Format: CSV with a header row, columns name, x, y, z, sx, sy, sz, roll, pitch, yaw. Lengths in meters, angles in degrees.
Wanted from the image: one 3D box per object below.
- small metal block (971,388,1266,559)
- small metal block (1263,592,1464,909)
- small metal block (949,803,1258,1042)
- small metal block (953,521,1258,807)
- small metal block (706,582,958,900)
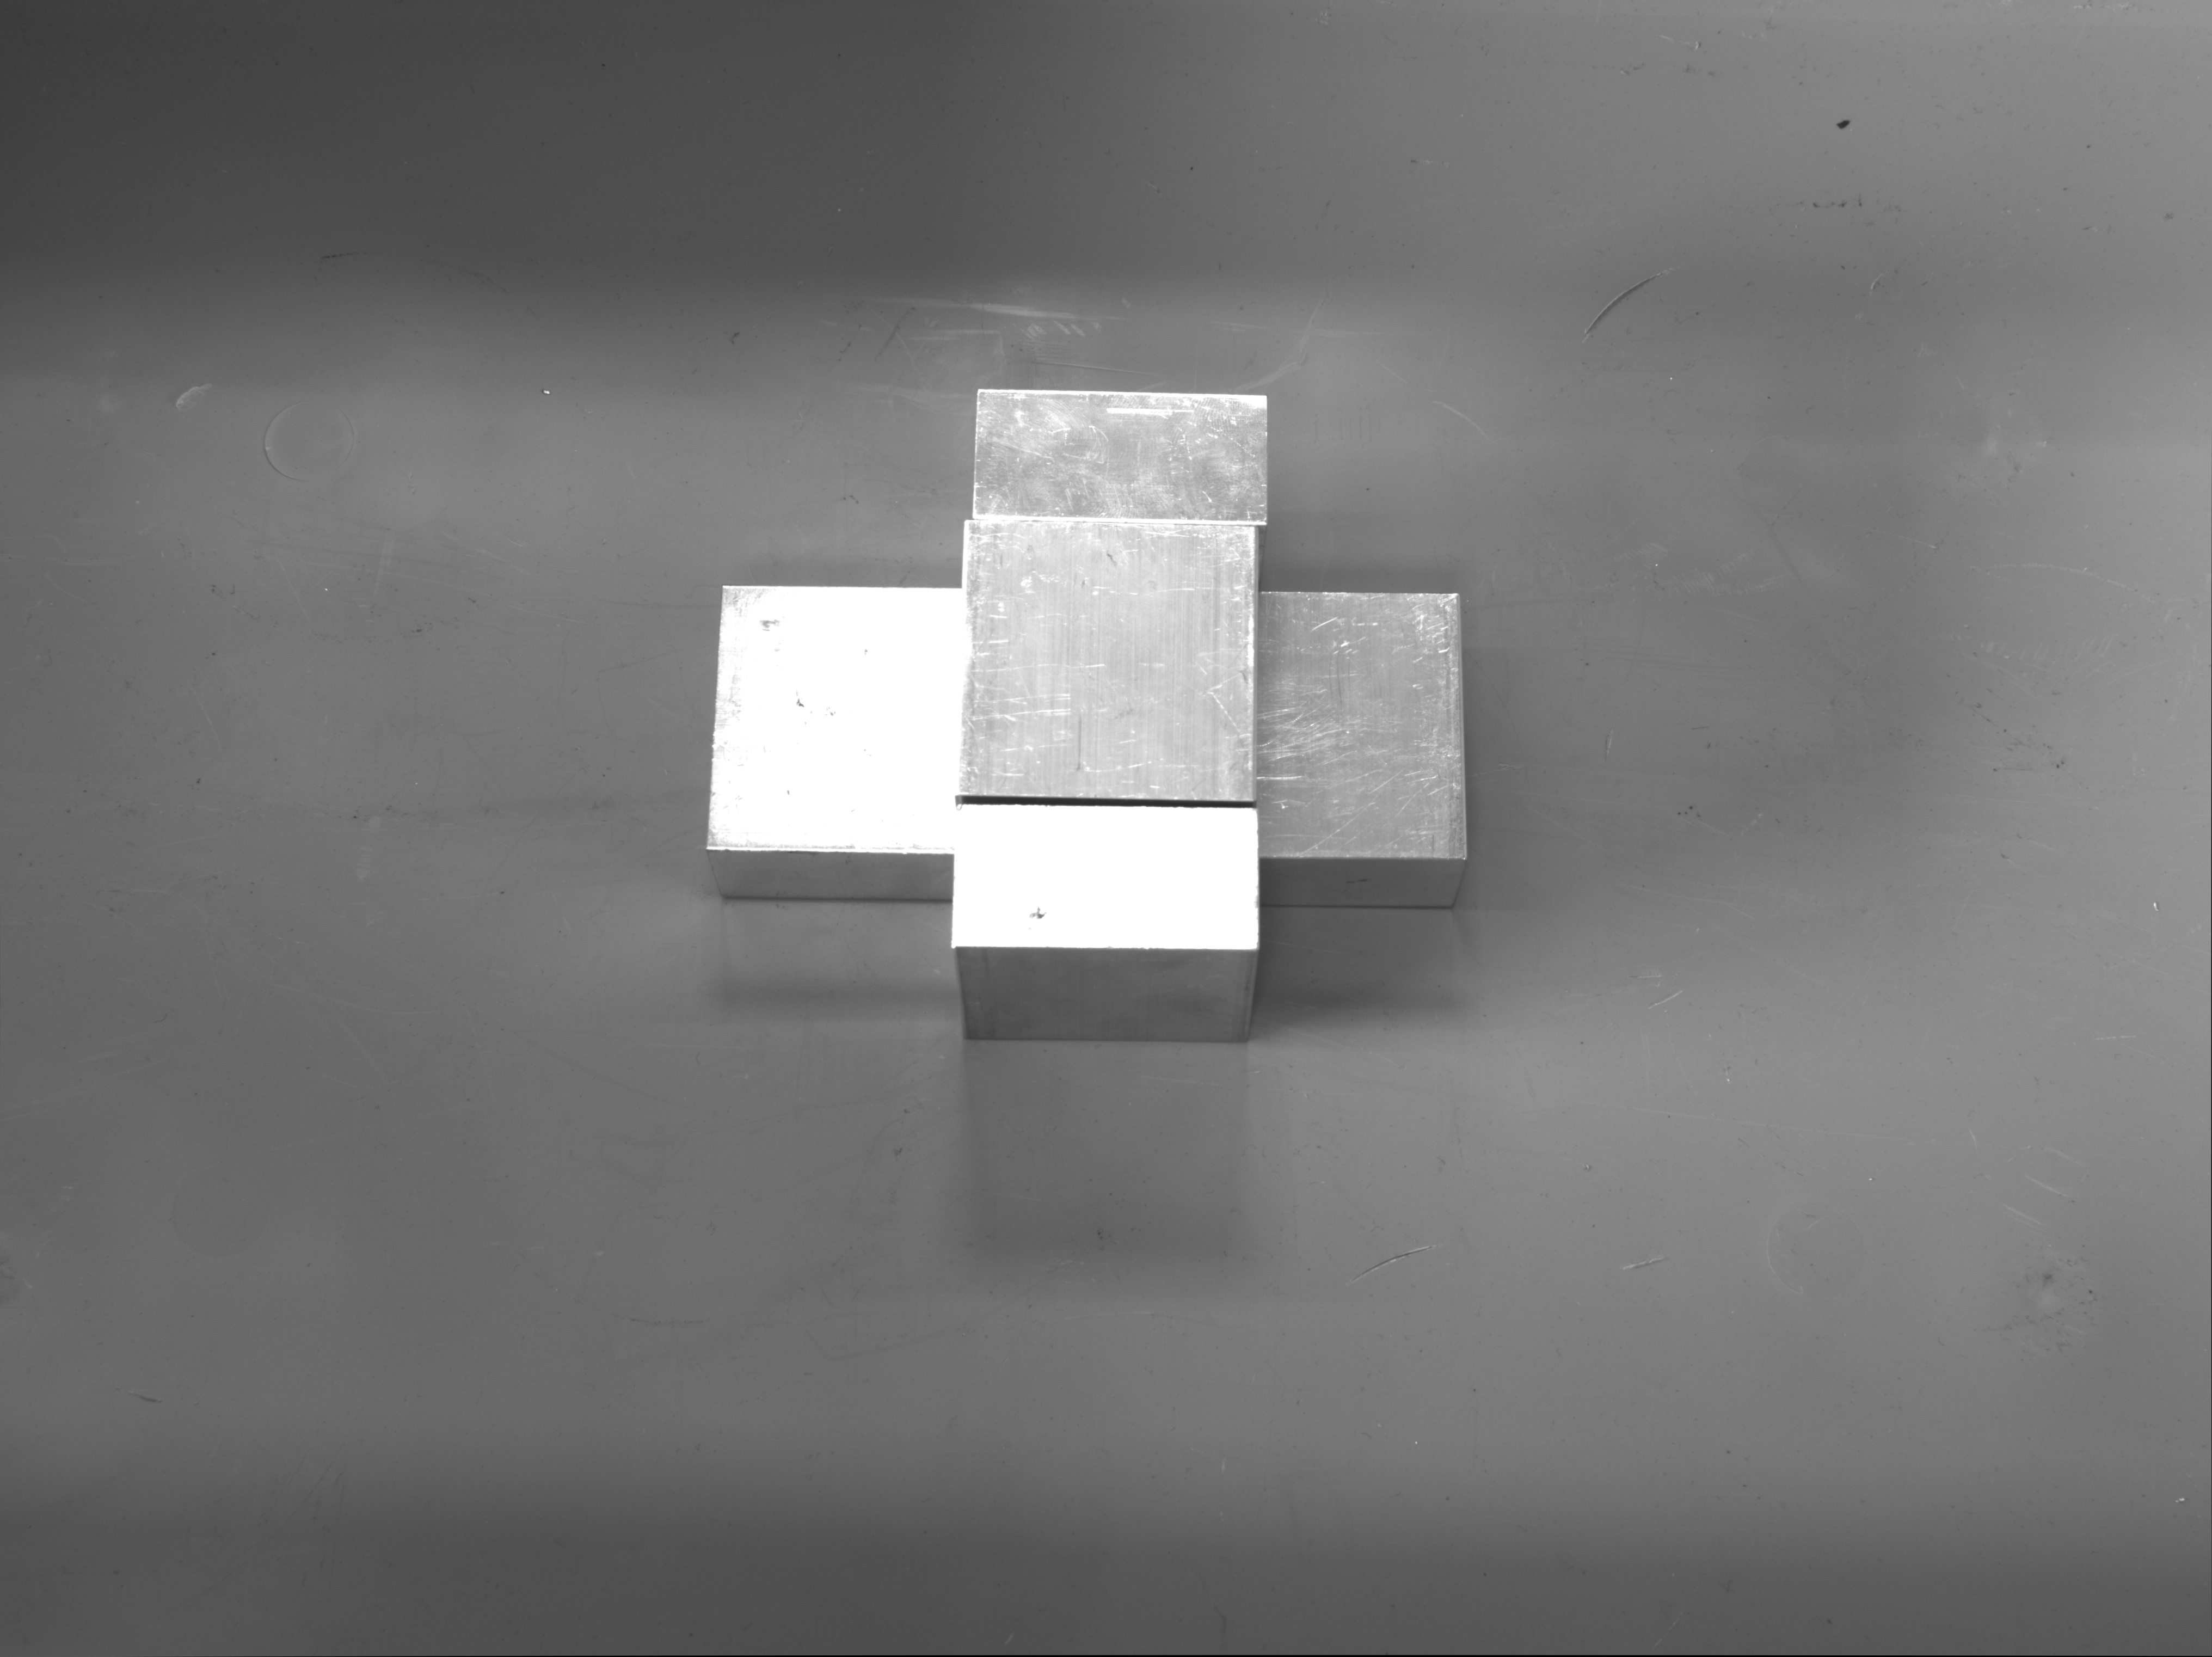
name,x,y,z,sx,sy,sz,roll,pitch,yaw
small metal block,0.002,-0.055,0.650,0.050,0.050,0.025,1,70,0
small metal block,0.037,-0.014,0.649,0.050,0.025,0.050,1,70,0
small metal block,0.000,0.017,0.622,0.050,0.050,0.025,1,70,0
small metal block,0.000,-0.024,0.625,0.050,0.025,0.050,1,70,0
small metal block,-0.043,-0.015,0.648,0.050,0.025,0.050,1,70,0
